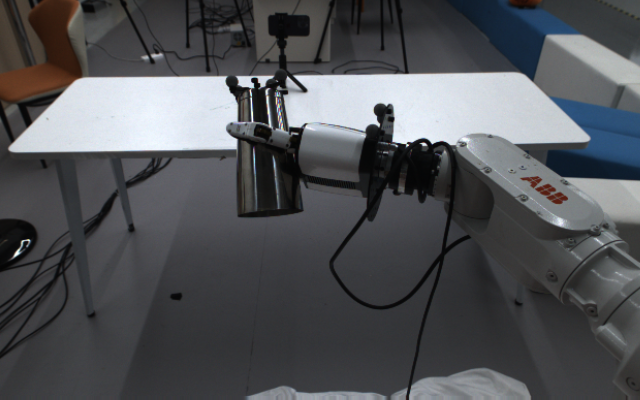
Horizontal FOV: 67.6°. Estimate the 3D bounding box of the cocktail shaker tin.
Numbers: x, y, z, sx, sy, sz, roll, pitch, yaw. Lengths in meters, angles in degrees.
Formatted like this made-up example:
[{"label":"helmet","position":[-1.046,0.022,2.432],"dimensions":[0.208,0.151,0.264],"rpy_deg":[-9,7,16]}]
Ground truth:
[{"label":"cocktail shaker tin","position":[-0.077,-0.065,0.680],"dimensions":[0.093,0.170,0.093],"rpy_deg":[-6,-7,-1]}]
